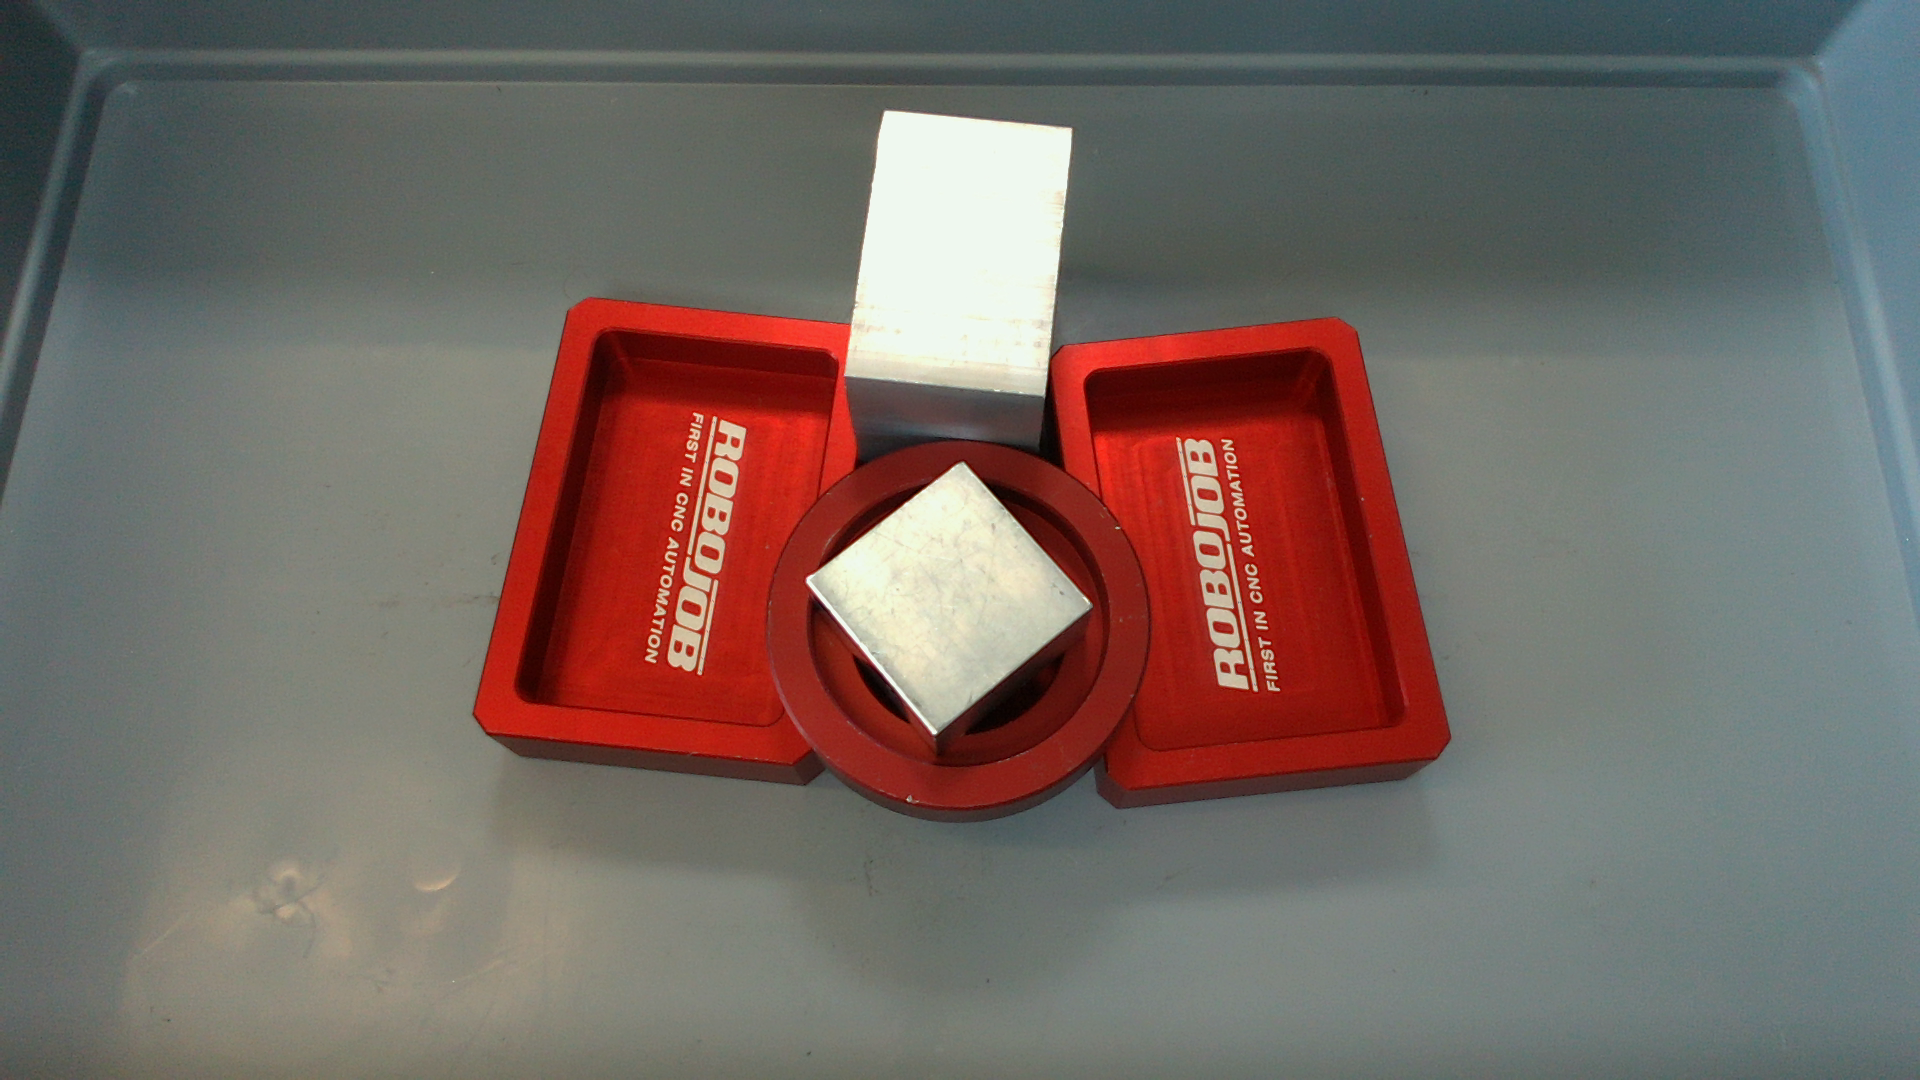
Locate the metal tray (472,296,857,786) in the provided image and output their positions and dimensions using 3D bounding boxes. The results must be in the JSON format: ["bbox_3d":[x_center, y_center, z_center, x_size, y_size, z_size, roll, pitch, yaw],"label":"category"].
[{"bbox_3d":[-0.076,-0.002,0.391,0.090,0.030,0.130,6,70,2],"label":"metal tray"}]

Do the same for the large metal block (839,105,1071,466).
[{"bbox_3d":[0.000,-0.061,0.386,0.050,0.080,0.080,6,70,2],"label":"large metal block"}]

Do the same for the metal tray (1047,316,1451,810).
[{"bbox_3d":[0.076,0.005,0.389,0.090,0.030,0.130,-6,70,-2],"label":"metal tray"}]

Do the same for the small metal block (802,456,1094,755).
[{"bbox_3d":[-0.003,0.016,0.342,0.050,0.025,0.050,-38,74,-13],"label":"small metal block"}]

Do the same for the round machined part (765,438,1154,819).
[{"bbox_3d":[0.000,0.026,0.365,0.098,0.042,0.098,0,70,0],"label":"round machined part"}]
